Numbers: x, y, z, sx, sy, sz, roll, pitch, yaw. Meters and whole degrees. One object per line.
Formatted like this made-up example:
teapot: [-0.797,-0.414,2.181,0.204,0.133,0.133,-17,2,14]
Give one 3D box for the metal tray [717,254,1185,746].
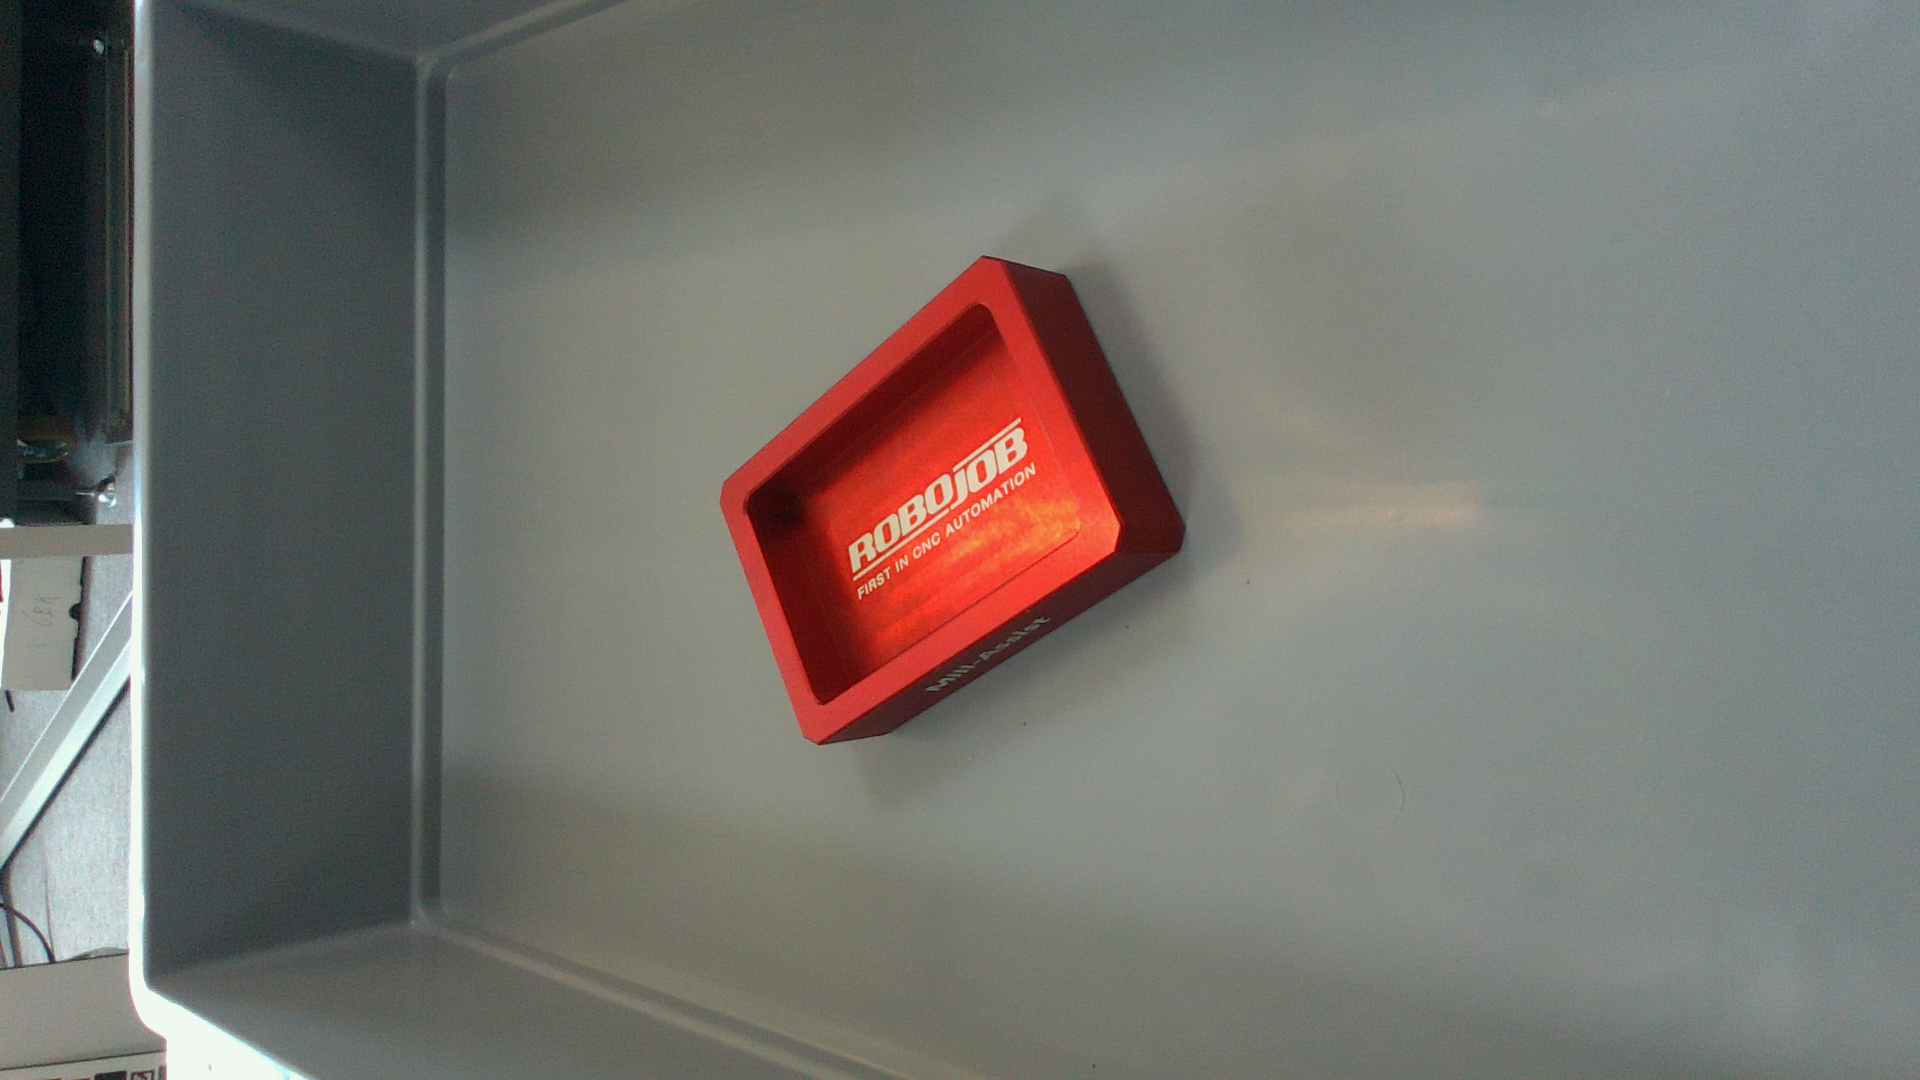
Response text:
metal tray: [-0.009,-0.008,0.395,0.130,0.030,0.090,-35,68,34]
